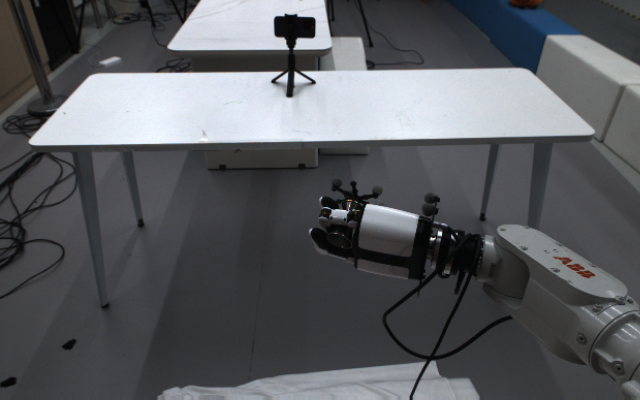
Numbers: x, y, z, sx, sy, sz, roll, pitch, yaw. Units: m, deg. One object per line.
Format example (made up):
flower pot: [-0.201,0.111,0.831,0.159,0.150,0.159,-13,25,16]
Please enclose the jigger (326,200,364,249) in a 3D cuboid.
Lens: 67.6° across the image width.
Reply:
jigger: [0.045,0.037,0.771,0.043,0.043,0.071,13,58,15]
